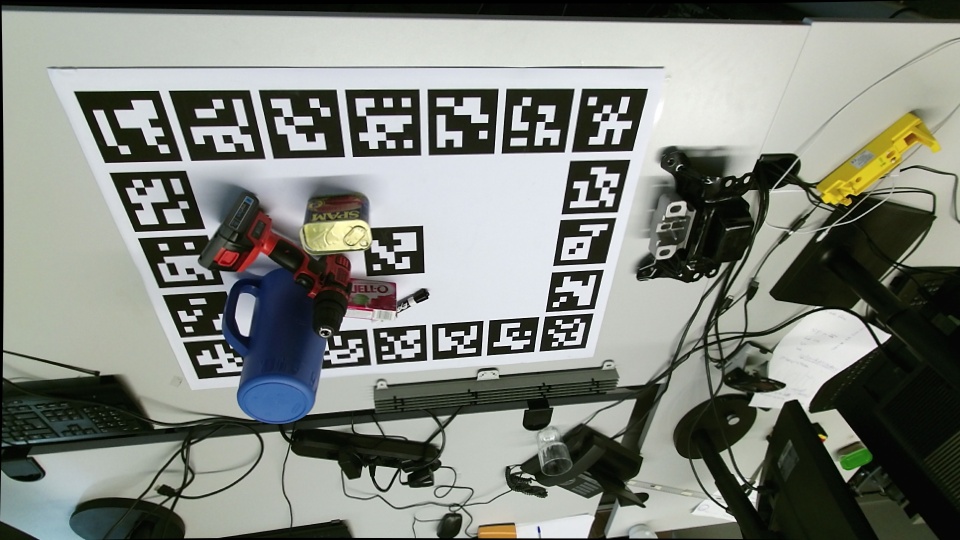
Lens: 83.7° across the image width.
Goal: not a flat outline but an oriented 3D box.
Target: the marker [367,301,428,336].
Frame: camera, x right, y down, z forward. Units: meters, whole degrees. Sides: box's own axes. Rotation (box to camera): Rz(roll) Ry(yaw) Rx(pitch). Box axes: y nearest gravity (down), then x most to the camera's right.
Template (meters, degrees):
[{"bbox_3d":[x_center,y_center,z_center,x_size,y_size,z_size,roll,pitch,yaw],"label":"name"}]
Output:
[{"bbox_3d":[-0.151,0.089,0.991,0.121,0.019,0.020,-26,125,7],"label":"marker"}]

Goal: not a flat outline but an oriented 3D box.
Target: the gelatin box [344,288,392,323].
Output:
[{"bbox_3d":[-0.200,0.062,0.932,0.090,0.073,0.030,6,120,-13],"label":"gelatin box"}]

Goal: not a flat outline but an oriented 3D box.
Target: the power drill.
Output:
[{"bbox_3d":[-0.284,0.020,0.817,0.188,0.184,0.057,30,112,-21],"label":"power drill"}]

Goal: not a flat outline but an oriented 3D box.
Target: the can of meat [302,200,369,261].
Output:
[{"bbox_3d":[-0.223,-0.063,0.826,0.102,0.083,0.058,-5,128,-7],"label":"can of meat"}]

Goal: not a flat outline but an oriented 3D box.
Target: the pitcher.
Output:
[{"bbox_3d":[-0.331,0.120,0.853,0.189,0.241,0.133,22,115,-31],"label":"pitcher"}]
